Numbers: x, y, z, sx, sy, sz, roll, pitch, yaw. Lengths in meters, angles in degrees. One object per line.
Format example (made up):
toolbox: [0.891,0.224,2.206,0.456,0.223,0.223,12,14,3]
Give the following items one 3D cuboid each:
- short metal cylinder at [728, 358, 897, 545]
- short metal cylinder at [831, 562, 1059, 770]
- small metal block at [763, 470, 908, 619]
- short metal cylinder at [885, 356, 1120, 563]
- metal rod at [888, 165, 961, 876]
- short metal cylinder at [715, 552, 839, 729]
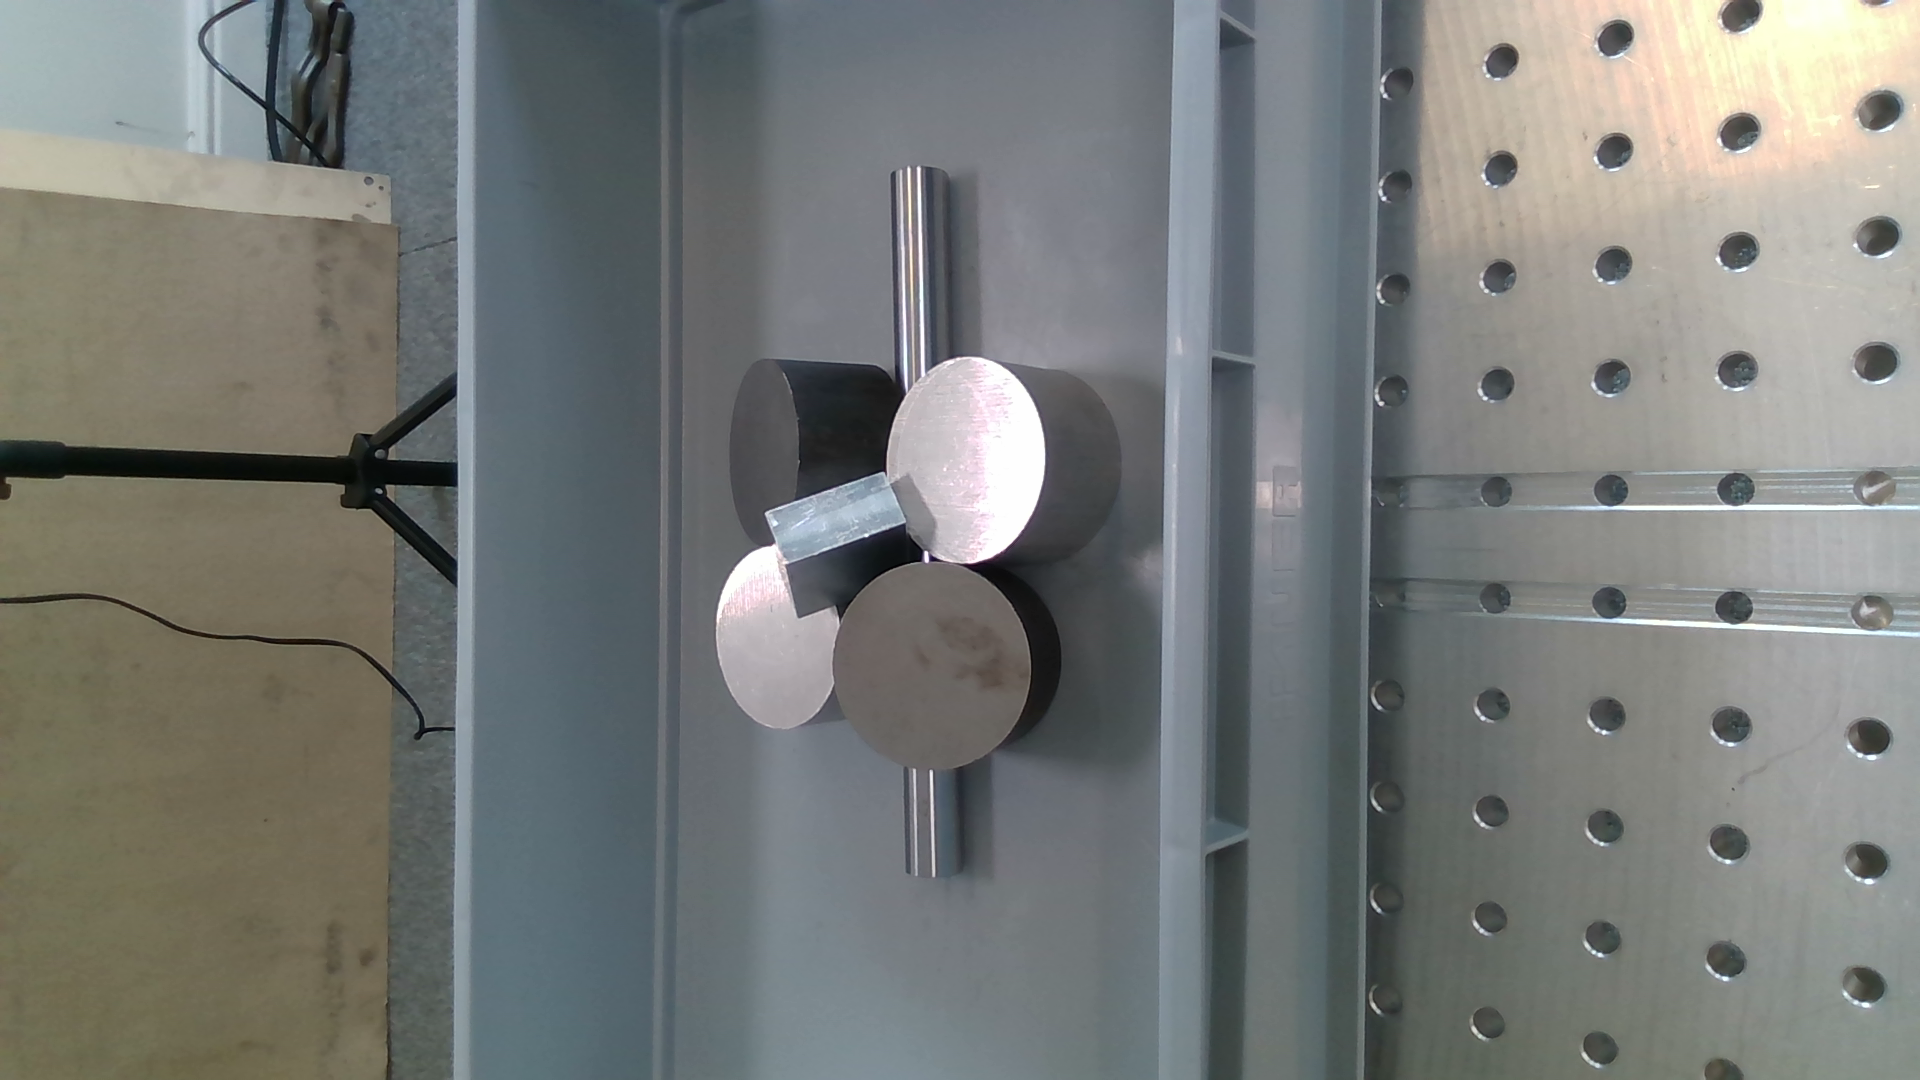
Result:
short metal cylinder: [-0.064,-0.038,0.602,0.080,0.050,0.080,4,95,60]
short metal cylinder: [-0.005,0.048,0.552,0.080,0.050,0.080,0,90,17]
small metal block: [-0.049,0.003,0.559,0.050,0.050,0.025,90,158,-62]
short metal cylinder: [0.016,-0.031,0.550,0.080,0.050,0.080,0,91,40]
metal rod: [-0.015,-0.008,0.593,0.025,0.025,0.300,-2,89,40]
short metal cylinder: [-0.065,0.042,0.619,0.080,0.050,0.080,0,91,40]
